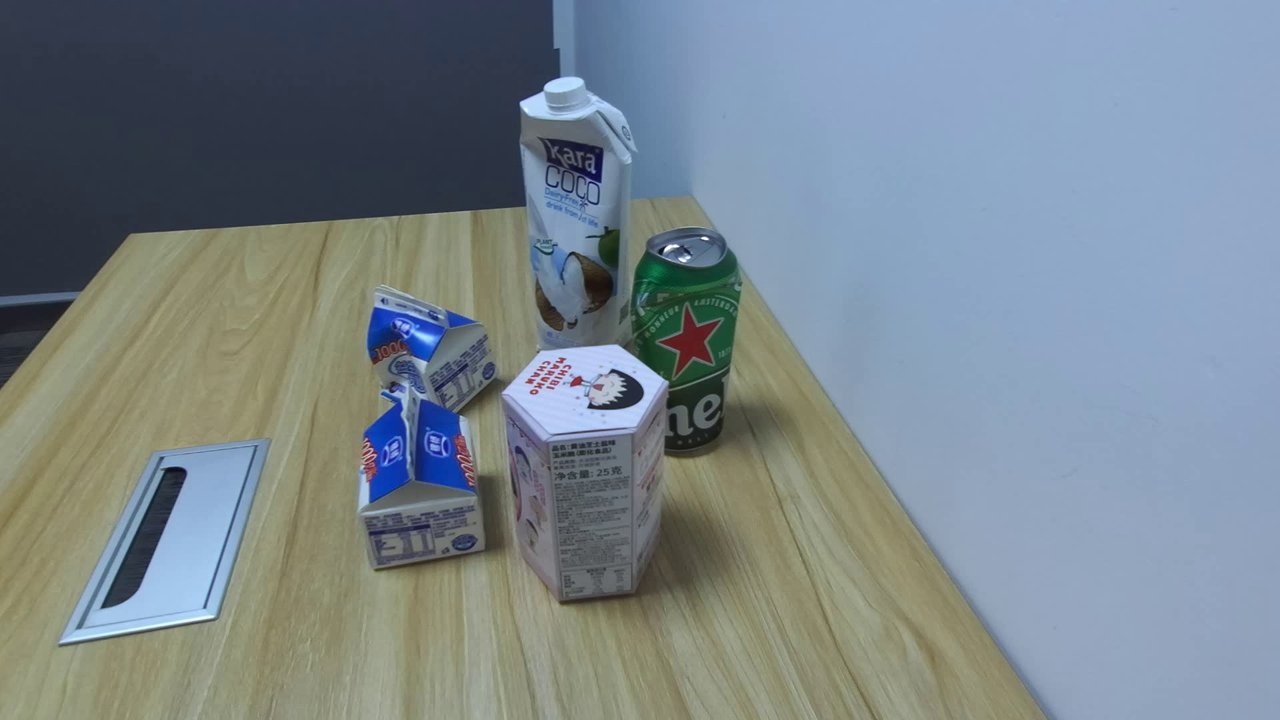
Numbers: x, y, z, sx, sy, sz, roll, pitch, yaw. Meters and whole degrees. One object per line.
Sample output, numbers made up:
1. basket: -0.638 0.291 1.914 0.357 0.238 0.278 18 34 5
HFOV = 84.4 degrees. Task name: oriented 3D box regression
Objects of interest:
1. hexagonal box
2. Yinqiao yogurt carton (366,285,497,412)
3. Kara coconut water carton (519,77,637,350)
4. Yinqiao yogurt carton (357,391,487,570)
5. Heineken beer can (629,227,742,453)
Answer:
1. hexagonal box: -0.031 0.069 0.421 0.083 0.136 0.091 14 38 17
2. Yinqiao yogurt carton: -0.171 -0.013 0.567 0.077 0.094 0.071 20 45 23
3. Kara coconut water carton: -0.050 -0.106 0.575 0.114 0.239 0.069 20 41 25
4. Yinqiao yogurt carton: -0.142 0.072 0.453 0.074 0.092 0.075 -7 37 -13
5. Heineken beer can: 0.035 -0.010 0.509 0.077 0.164 0.066 -1 35 1
